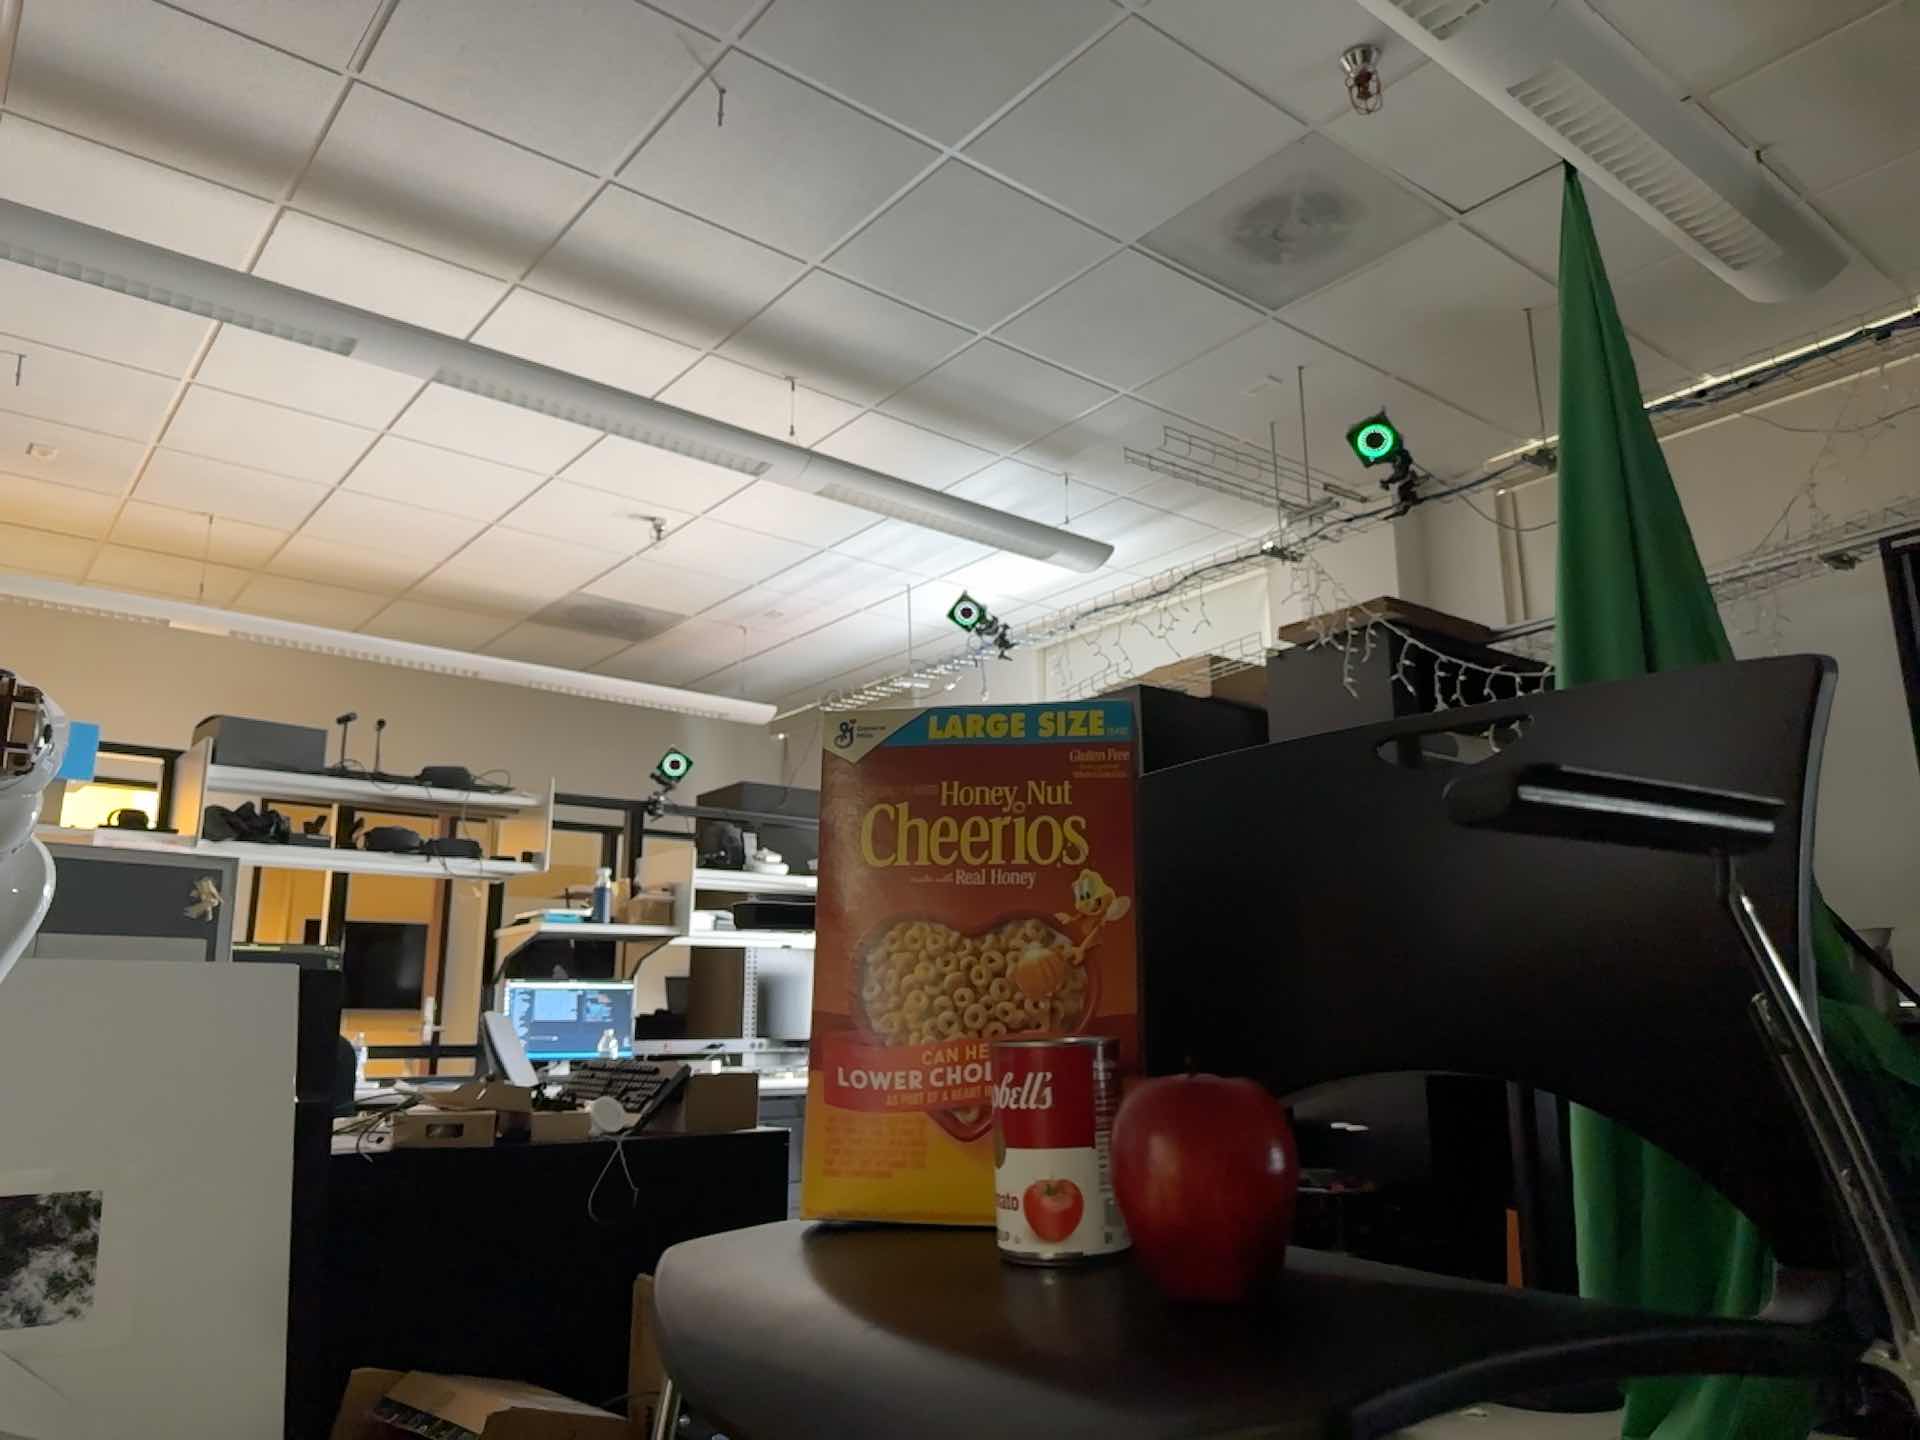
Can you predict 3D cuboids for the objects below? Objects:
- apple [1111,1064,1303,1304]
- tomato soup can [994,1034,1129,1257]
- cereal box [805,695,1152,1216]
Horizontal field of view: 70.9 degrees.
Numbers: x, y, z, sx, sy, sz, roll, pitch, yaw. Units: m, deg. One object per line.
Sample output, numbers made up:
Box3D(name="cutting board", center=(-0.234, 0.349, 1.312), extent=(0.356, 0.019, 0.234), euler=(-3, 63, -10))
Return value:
Box3D(name="apple", center=(0.103, 0.191, 0.564), extent=(0.079, 0.093, 0.079), euler=(-5, -9, -1))
Box3D(name="tomato soup can", center=(0.051, 0.212, 0.682), extent=(0.067, 0.102, 0.067), euler=(-1, -10, 0))
Box3D(name="cereal box", center=(0.014, 0.140, 0.828), extent=(0.195, 0.297, 0.065), euler=(-1, -11, 12))
